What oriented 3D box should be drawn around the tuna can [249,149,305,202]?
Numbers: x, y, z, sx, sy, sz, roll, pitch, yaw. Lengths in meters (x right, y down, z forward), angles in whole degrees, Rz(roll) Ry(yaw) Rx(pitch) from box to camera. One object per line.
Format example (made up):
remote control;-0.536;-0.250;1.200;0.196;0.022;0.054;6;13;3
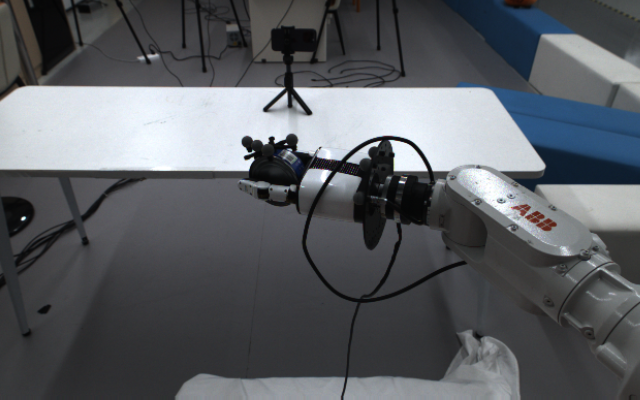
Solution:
tuna can;-0.061;-0.035;0.733;0.085;0.085;0.034;17;36;20
